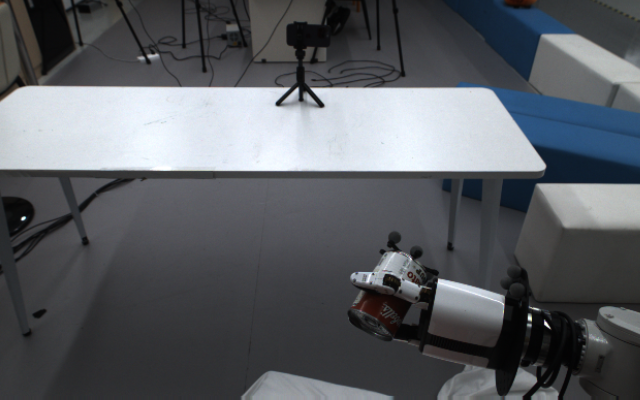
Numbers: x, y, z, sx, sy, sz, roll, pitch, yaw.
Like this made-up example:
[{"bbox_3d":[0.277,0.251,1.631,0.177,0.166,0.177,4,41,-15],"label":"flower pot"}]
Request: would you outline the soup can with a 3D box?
[{"bbox_3d":[0.092,0.124,0.640,0.067,0.067,0.101,22,60,27],"label":"soup can"}]
